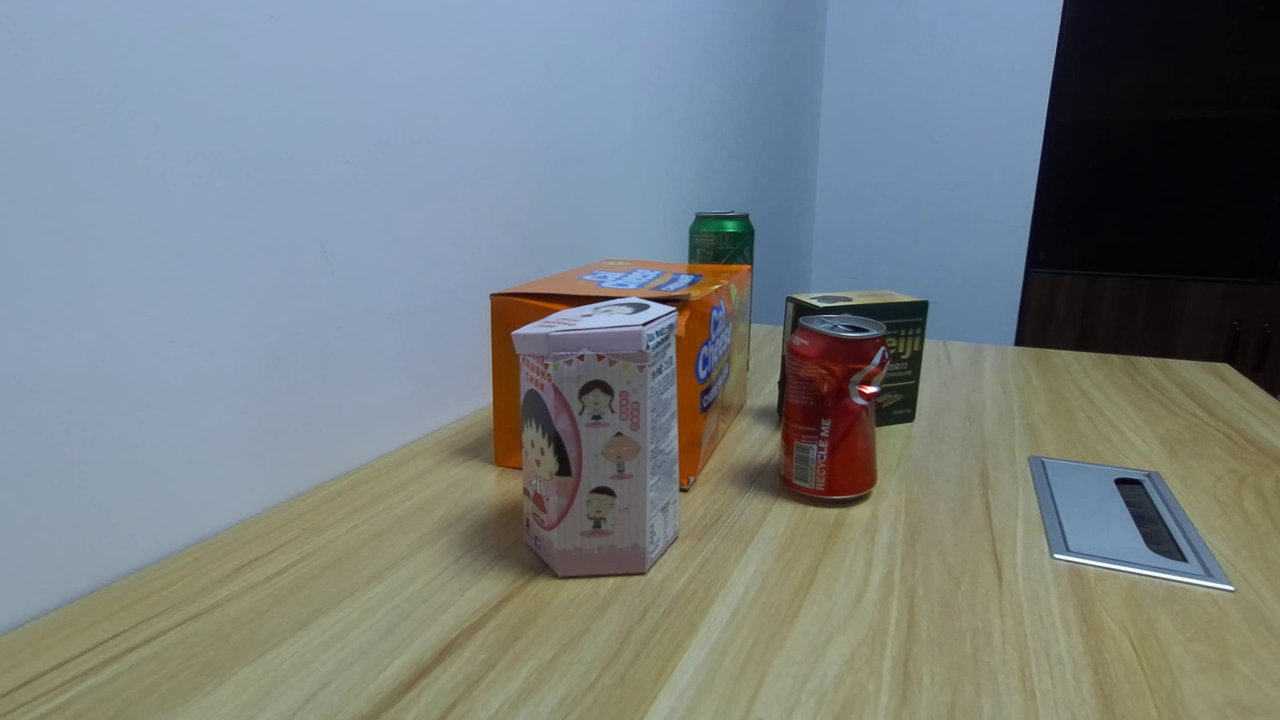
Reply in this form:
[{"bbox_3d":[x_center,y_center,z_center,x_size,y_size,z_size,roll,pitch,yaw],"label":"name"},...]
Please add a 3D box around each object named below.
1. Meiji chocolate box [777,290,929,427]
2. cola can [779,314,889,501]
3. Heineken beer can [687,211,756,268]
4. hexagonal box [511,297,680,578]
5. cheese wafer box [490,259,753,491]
[{"bbox_3d":[0.180,0.000,0.603,0.110,0.109,0.056,-4,16,-19],"label":"Meiji chocolate box"},{"bbox_3d":[0.126,0.029,0.464,0.066,0.117,0.066,3,16,7],"label":"cola can"},{"bbox_3d":[0.079,-0.060,0.718,0.067,0.169,0.067,3,9,0],"label":"Heineken beer can"},{"bbox_3d":[-0.020,0.039,0.391,0.085,0.135,0.091,-9,18,-30],"label":"hexagonal box"},{"bbox_3d":[0.000,-0.005,0.567,0.149,0.137,0.227,6,15,19],"label":"cheese wafer box"}]
